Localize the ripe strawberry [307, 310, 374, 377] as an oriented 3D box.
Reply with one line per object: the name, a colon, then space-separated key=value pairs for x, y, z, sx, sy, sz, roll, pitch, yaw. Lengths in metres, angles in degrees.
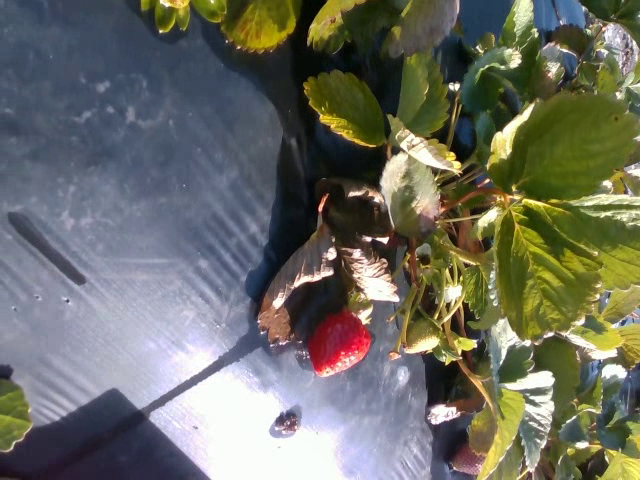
ripe strawberry: x=0.003 y=0.059 z=0.283 sx=0.037 sy=0.047 sz=0.054 roll=15 pitch=35 yaw=28
